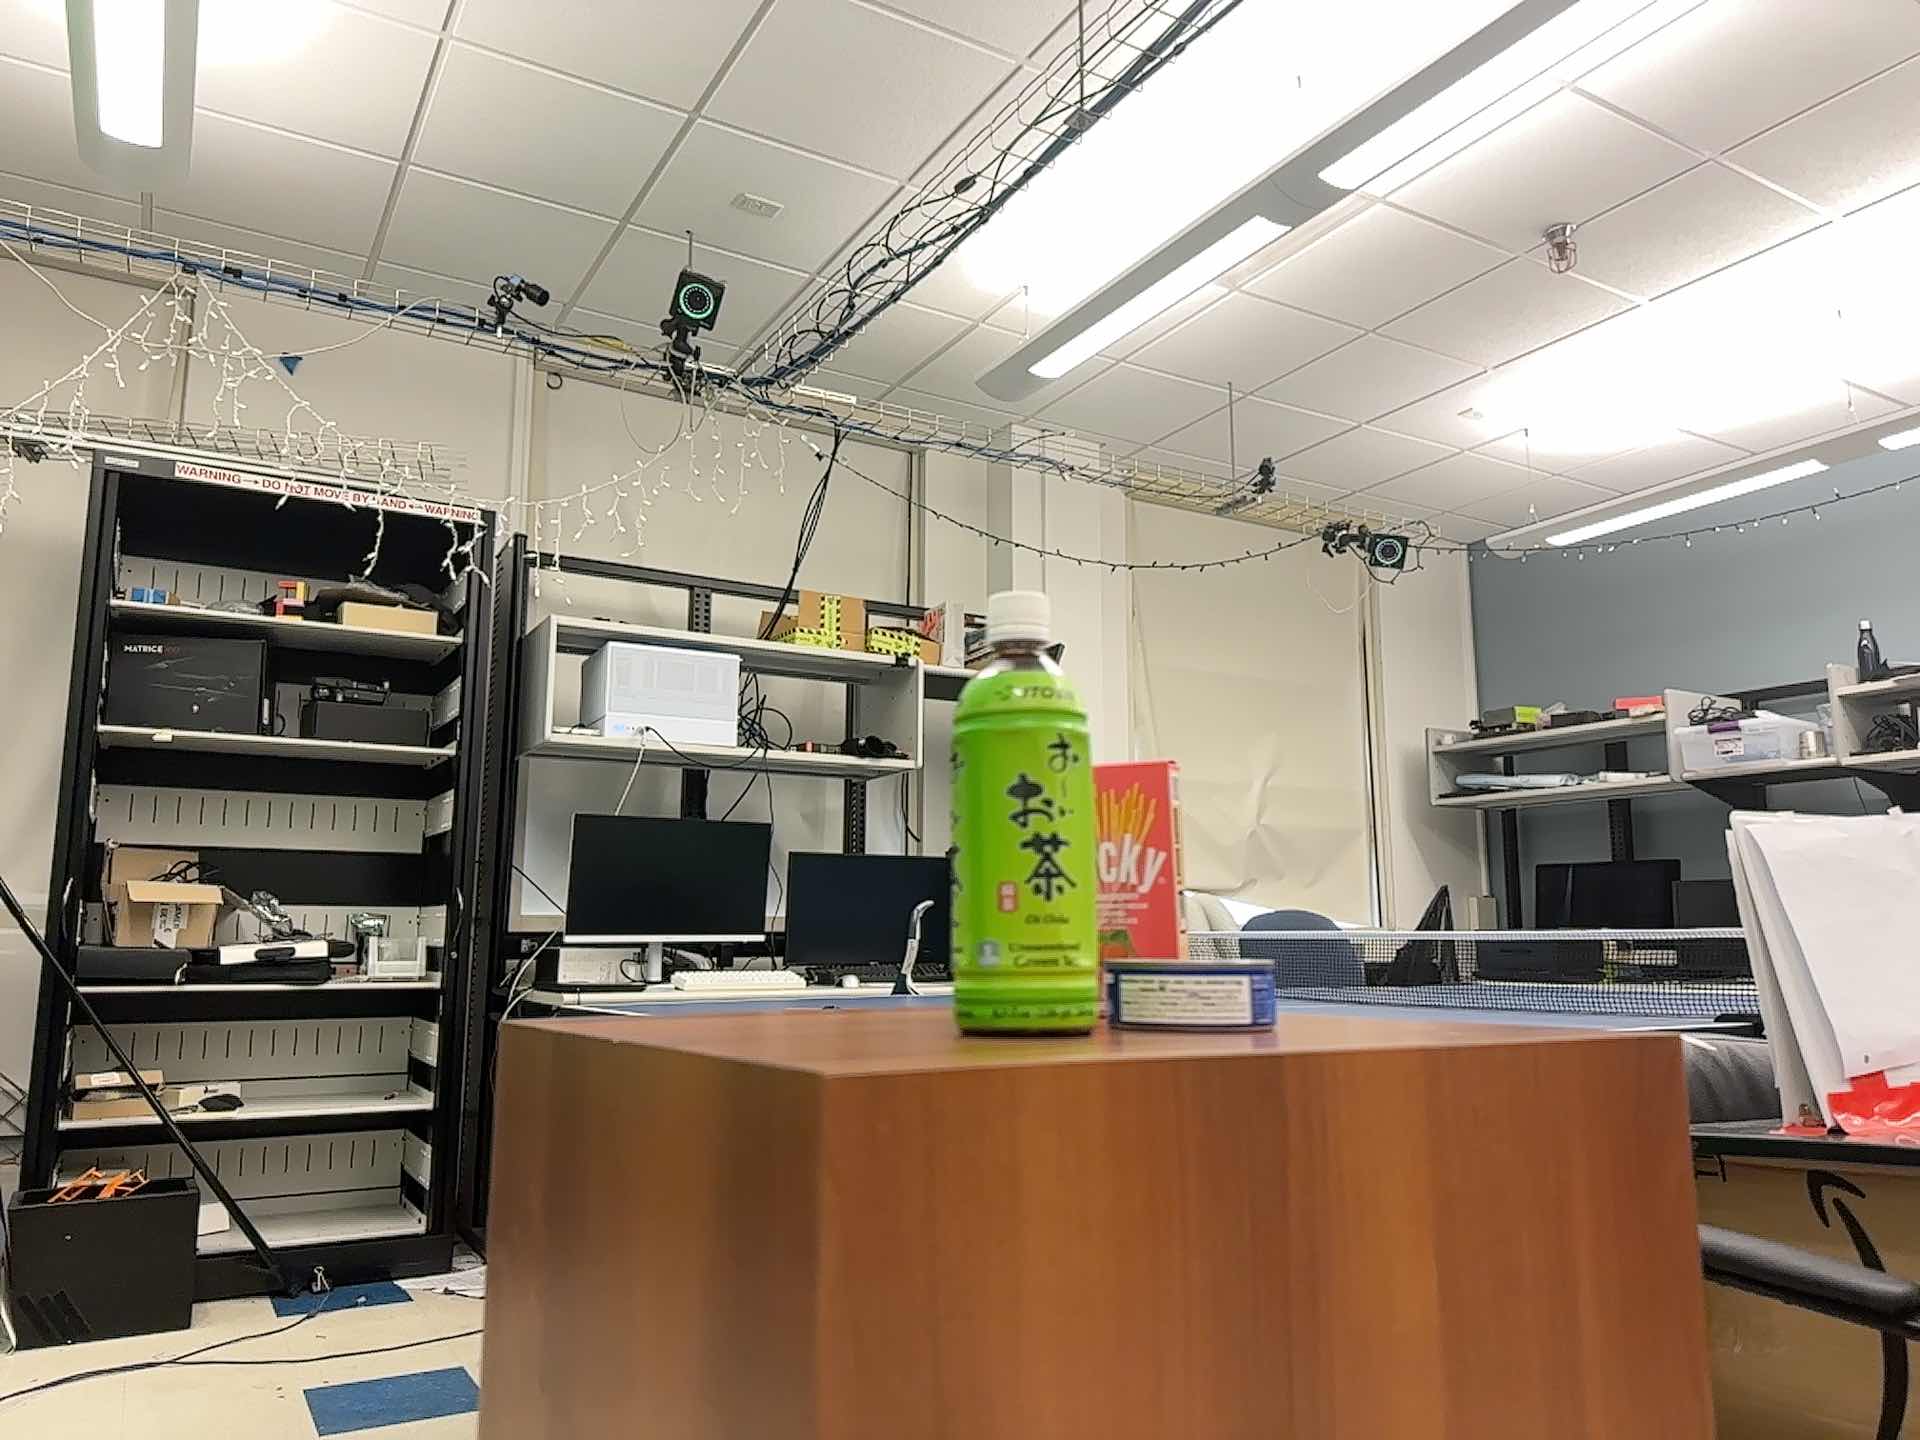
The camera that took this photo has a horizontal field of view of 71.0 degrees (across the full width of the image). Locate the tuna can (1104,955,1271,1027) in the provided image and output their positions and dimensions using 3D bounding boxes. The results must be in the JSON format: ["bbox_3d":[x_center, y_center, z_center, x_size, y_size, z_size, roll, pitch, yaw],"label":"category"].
[{"bbox_3d":[0.117,0.139,0.692,0.083,0.034,0.083,-1,-11,0],"label":"tuna can"}]

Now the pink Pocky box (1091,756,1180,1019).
[{"bbox_3d":[0.088,0.102,0.816,0.084,0.155,0.029,-5,-8,24],"label":"pink Pocky box"}]

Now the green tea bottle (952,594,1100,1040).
[{"bbox_3d":[0.029,0.045,0.647,0.073,0.212,0.073,-2,-10,0],"label":"green tea bottle"}]
